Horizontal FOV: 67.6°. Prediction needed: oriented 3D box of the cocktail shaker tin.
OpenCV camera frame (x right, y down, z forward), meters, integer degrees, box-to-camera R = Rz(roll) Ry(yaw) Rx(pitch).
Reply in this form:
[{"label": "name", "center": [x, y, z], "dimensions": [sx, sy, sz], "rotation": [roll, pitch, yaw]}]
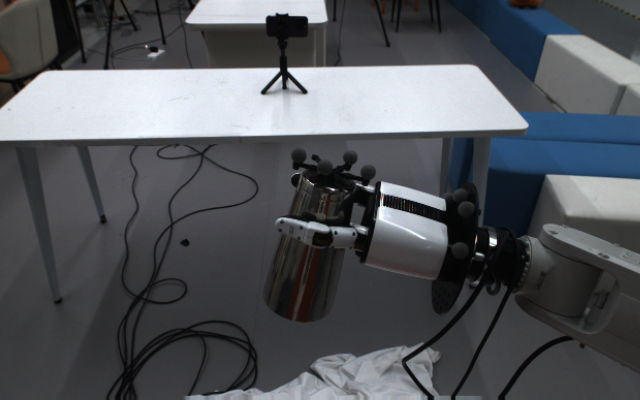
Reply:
[{"label": "cocktail shaker tin", "center": [-0.005, 0.048, 0.586], "dimensions": [0.093, 0.170, 0.093], "rotation": [12, 25, -6]}]
